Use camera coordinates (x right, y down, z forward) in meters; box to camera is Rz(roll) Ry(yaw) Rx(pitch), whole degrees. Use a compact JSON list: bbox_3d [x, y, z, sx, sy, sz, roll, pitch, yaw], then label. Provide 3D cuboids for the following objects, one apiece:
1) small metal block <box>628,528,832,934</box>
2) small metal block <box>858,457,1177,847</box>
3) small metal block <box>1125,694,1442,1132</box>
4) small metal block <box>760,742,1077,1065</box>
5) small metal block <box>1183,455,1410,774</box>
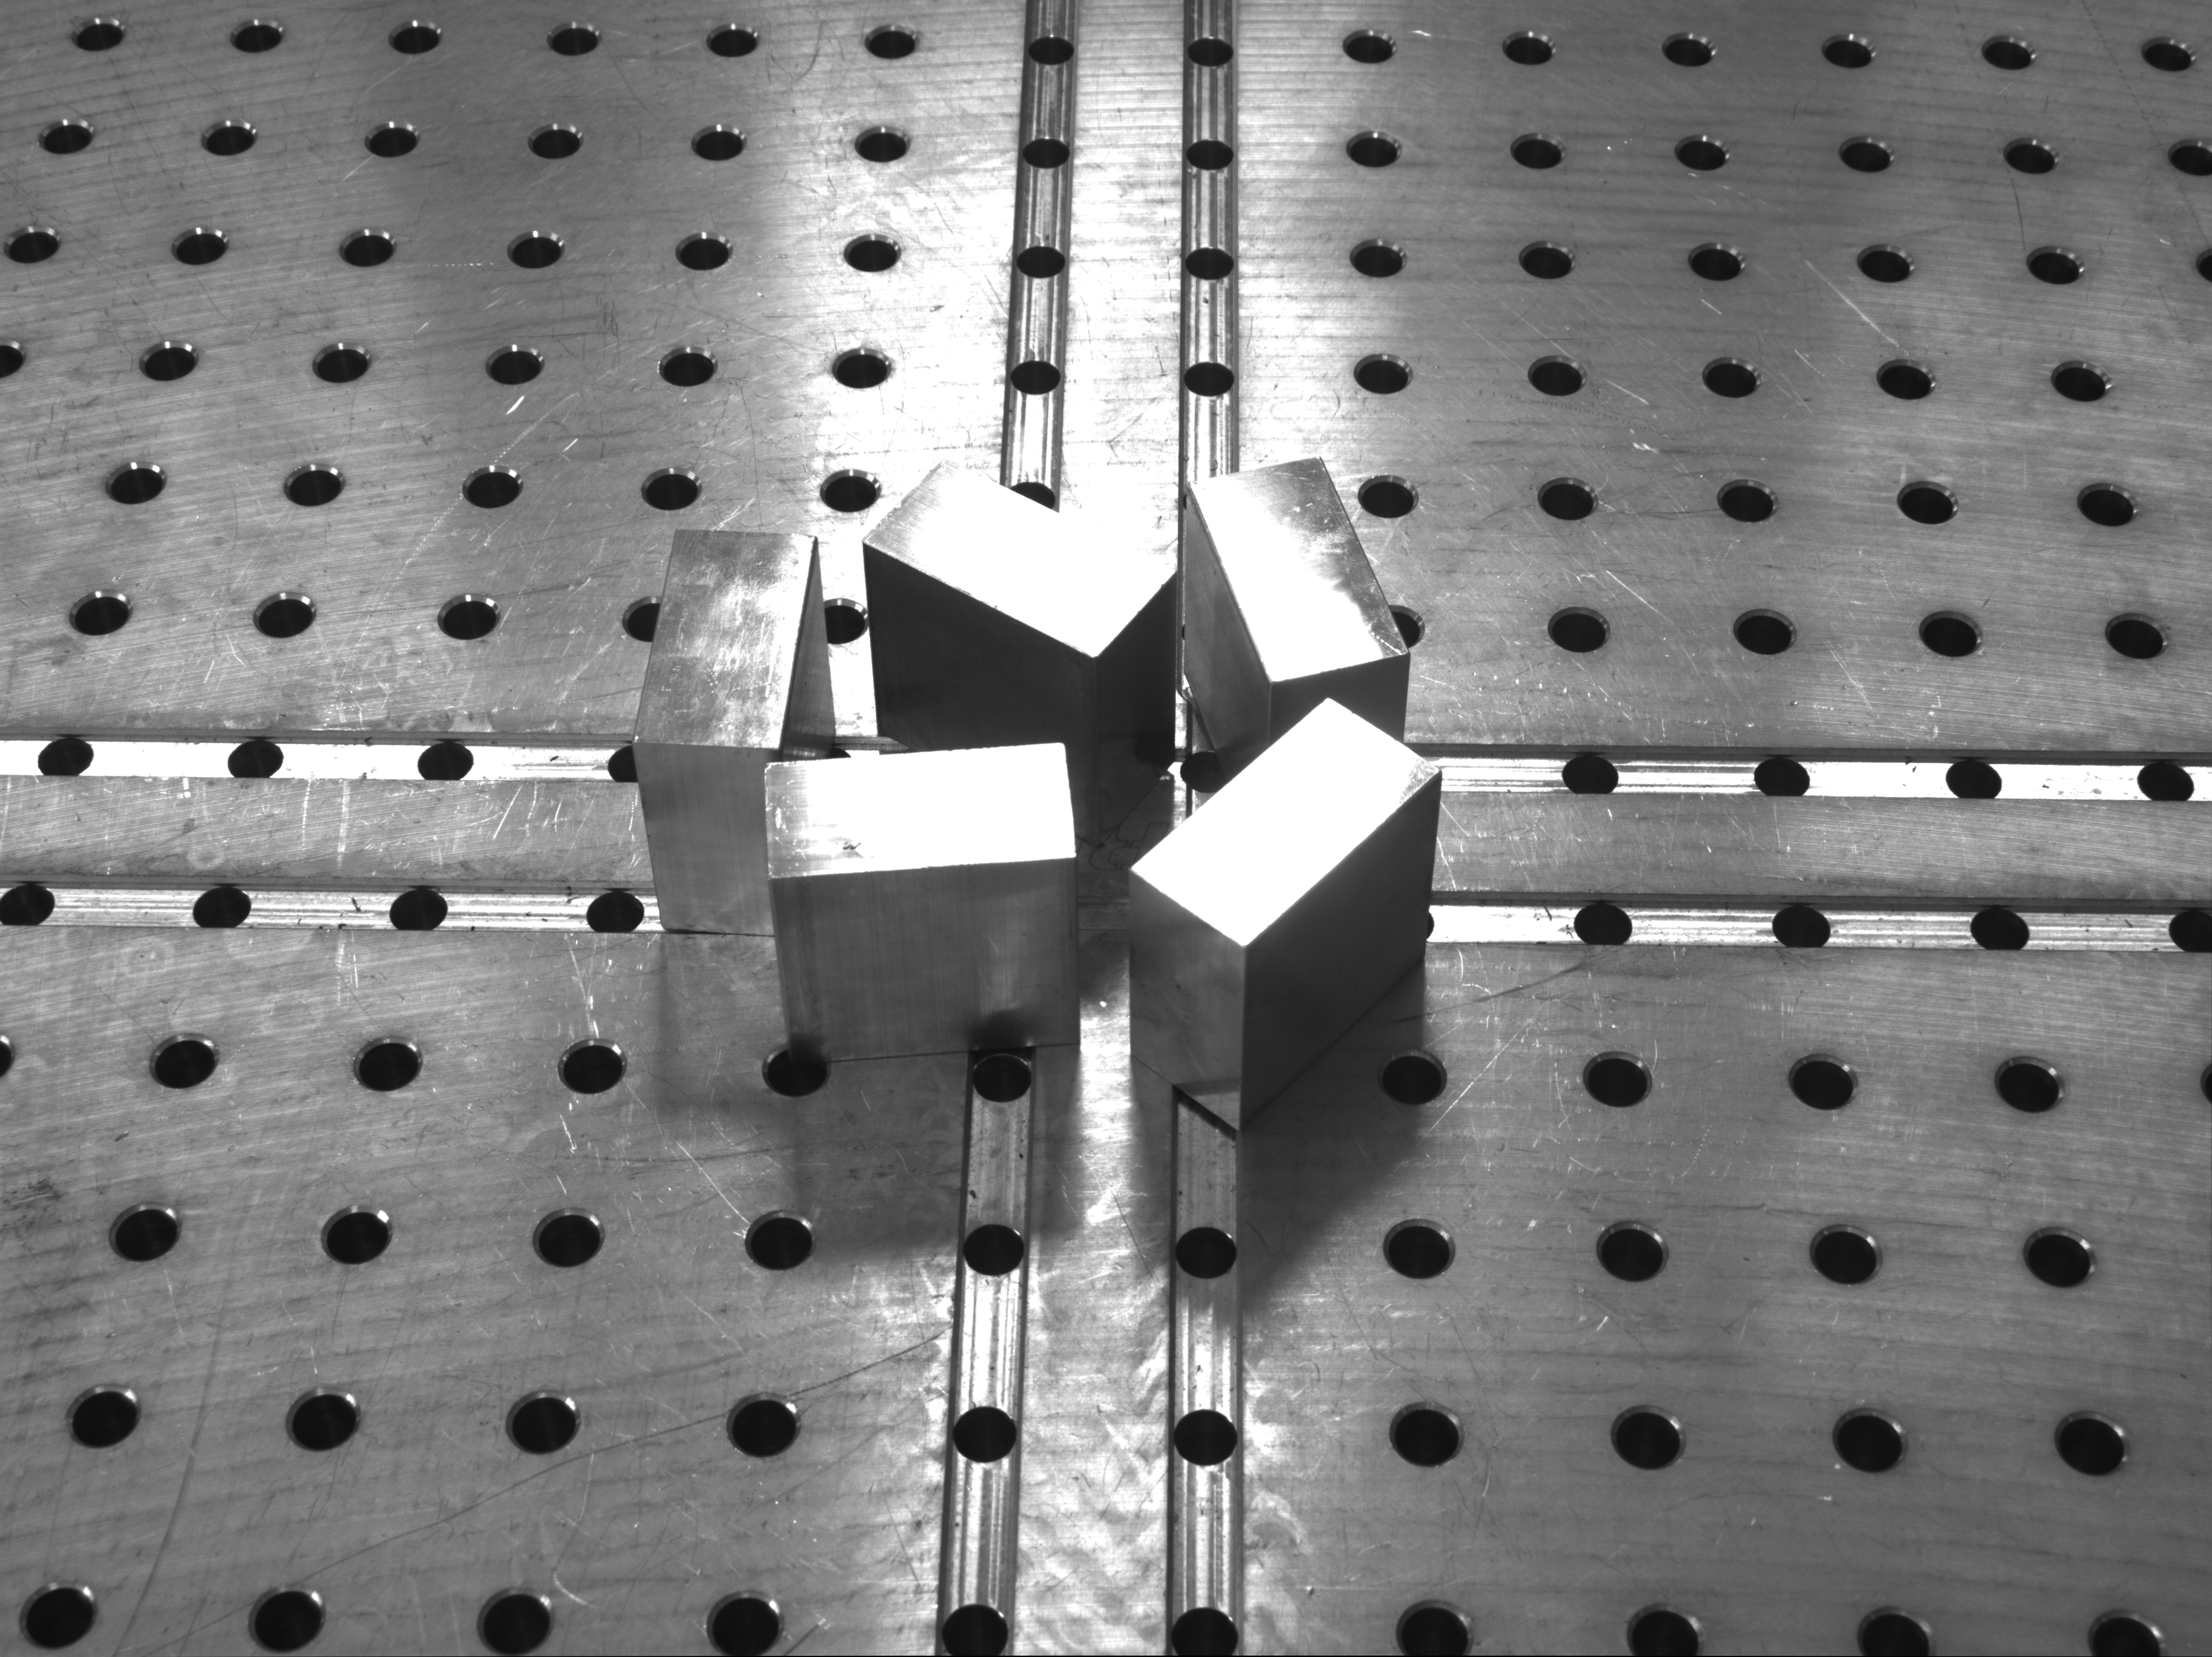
[{"bbox_3d":[-0.065,-0.017,0.643,0.025,0.050,0.050,3,50,3],"label":"small metal block"},{"bbox_3d":[-0.015,-0.031,0.656,0.050,0.050,0.025,27,56,21],"label":"small metal block"},{"bbox_3d":[0.030,0.014,0.617,0.025,0.050,0.050,34,58,27],"label":"small metal block"},{"bbox_3d":[-0.031,0.013,0.618,0.050,0.050,0.025,-4,50,-3],"label":"small metal block"},{"bbox_3d":[0.033,-0.029,0.653,0.025,0.050,0.050,-12,50,-10],"label":"small metal block"}]
